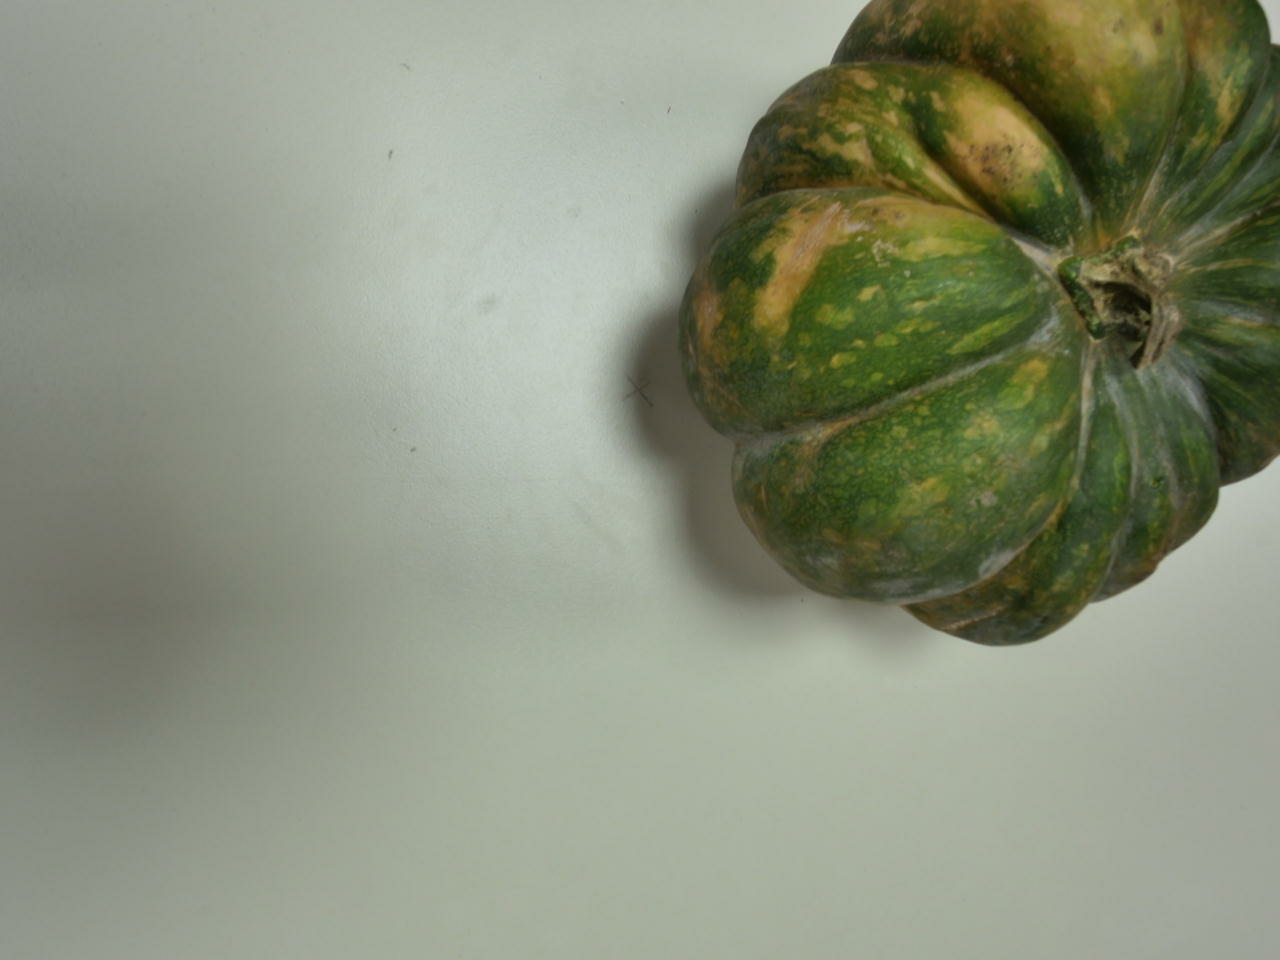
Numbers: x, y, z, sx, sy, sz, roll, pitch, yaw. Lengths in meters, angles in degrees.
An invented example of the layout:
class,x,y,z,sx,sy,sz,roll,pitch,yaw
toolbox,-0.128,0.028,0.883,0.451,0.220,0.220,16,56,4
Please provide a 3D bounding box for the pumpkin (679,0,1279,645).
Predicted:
class,x,y,z,sx,sy,sz,roll,pitch,yaw
pumpkin,0.145,-0.066,0.378,0.237,0.173,0.270,38,84,-10
